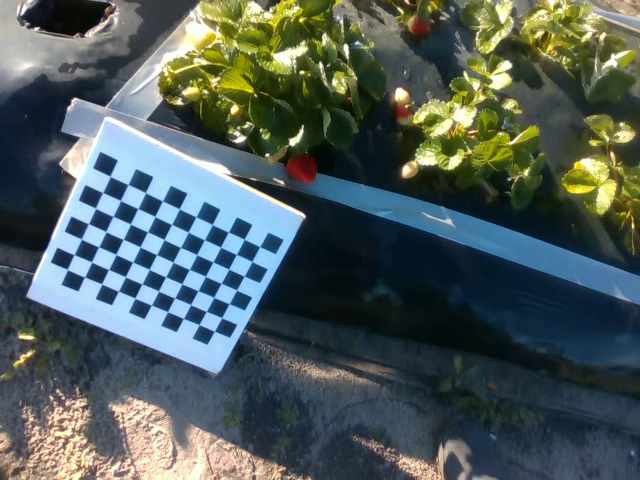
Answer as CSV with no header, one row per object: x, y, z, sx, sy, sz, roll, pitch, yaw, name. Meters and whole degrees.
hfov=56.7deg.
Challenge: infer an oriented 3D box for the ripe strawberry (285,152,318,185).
-0.022,-0.098,0.811,0.045,0.064,0.048,-37,-45,9,ripe strawberry
